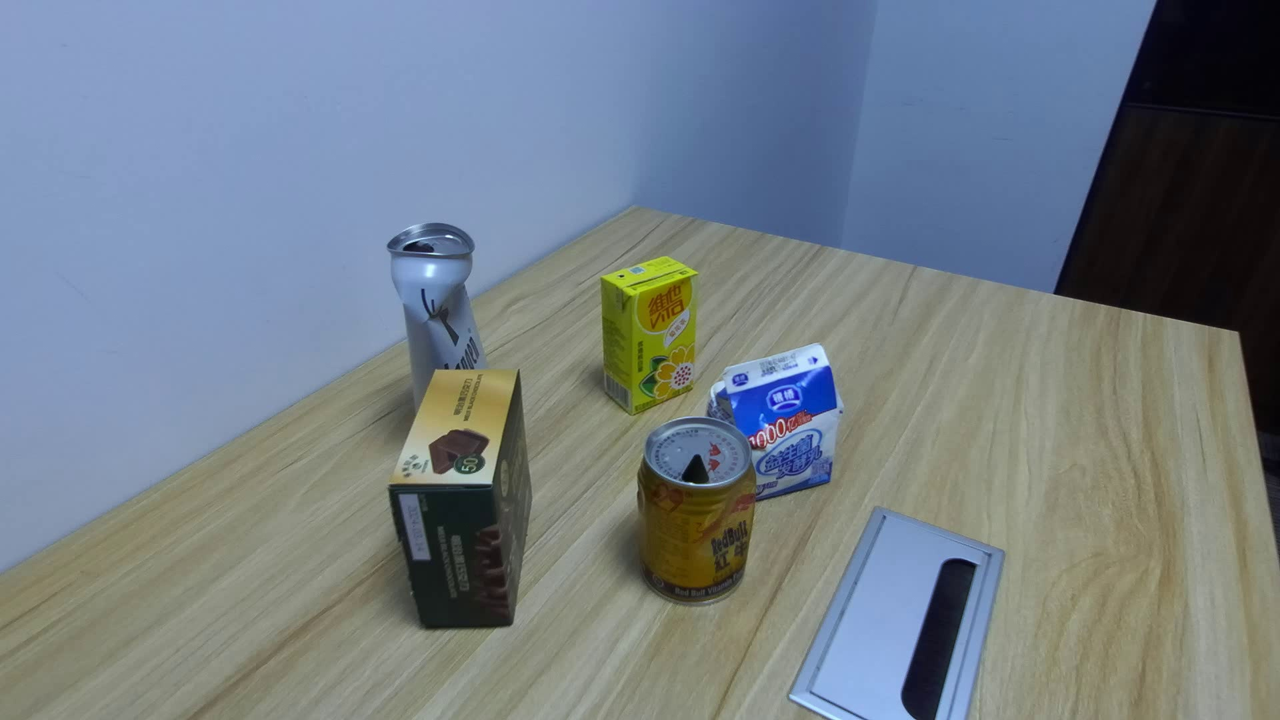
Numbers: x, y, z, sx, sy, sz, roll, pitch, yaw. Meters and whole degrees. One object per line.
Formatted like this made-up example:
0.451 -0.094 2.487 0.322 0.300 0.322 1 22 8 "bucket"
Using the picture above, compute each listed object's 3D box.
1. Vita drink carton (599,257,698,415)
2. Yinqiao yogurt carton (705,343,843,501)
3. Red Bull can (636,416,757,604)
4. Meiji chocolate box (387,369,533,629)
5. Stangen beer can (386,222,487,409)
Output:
0.008 -0.020 0.562 0.067 0.109 0.043 -22 38 -30 "Vita drink carton"
0.093 0.034 0.490 0.083 0.093 0.077 -10 34 -15 "Yinqiao yogurt carton"
0.032 0.087 0.411 0.069 0.092 0.069 -1 33 1 "Red Bull can"
-0.099 0.078 0.416 0.056 0.109 0.110 -1 32 -1 "Meiji chocolate box"
-0.139 -0.014 0.509 0.066 0.162 0.076 -23 43 -29 "Stangen beer can"
